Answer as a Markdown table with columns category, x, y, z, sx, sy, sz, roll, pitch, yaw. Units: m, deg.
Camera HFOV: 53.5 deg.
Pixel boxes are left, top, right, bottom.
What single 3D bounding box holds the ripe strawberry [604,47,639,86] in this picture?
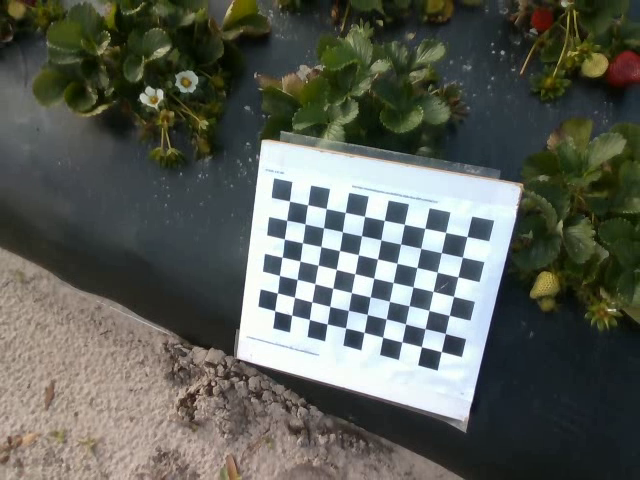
| category | x | y | z | sx | sy | sz | roll | pitch | yaw |
| --- | --- | --- | --- | --- | --- | --- | --- | --- | --- |
| ripe strawberry | 0.413 | -0.226 | 0.845 | 0.048 | 0.051 | 0.055 | 30 | 24 | -29 |
